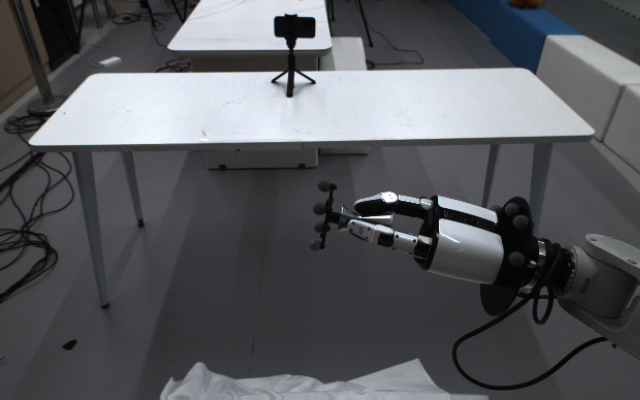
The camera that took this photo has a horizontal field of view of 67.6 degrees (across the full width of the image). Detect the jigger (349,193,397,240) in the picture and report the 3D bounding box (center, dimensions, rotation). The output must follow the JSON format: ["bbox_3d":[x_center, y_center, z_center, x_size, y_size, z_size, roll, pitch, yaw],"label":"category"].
[{"bbox_3d":[0.066,0.029,0.646,0.071,0.043,0.043,10,35,4],"label":"jigger"}]
